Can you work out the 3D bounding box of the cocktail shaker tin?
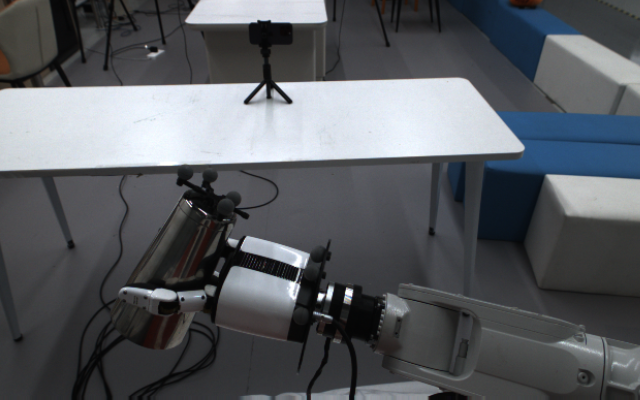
[{"bbox_3d":[-0.162,0.073,0.558,0.093,0.170,0.093,28,14,-7],"label":"cocktail shaker tin"}]
